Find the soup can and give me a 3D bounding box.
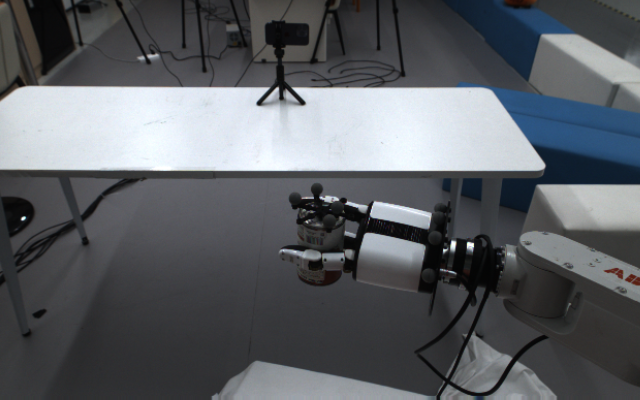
[{"bbox_3d":[0.002,0.062,0.683,0.067,0.101,0.067,2,32,-1],"label":"soup can"}]
